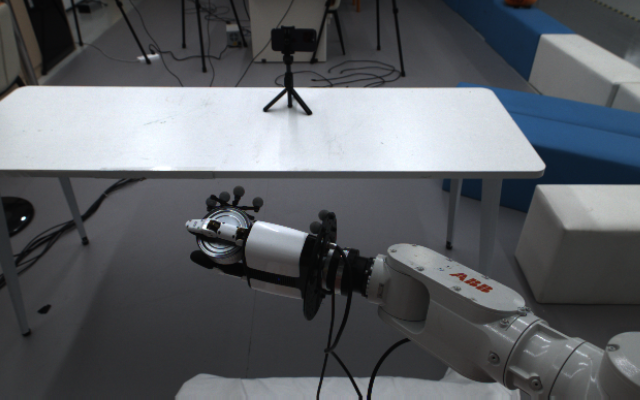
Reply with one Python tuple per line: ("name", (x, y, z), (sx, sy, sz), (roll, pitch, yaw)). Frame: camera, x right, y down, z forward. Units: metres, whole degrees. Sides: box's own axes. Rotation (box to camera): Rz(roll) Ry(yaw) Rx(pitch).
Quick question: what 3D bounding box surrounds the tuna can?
("tuna can", (-0.144, 0.056, 0.742), (0.085, 0.034, 0.085), (-6, 60, 10))
